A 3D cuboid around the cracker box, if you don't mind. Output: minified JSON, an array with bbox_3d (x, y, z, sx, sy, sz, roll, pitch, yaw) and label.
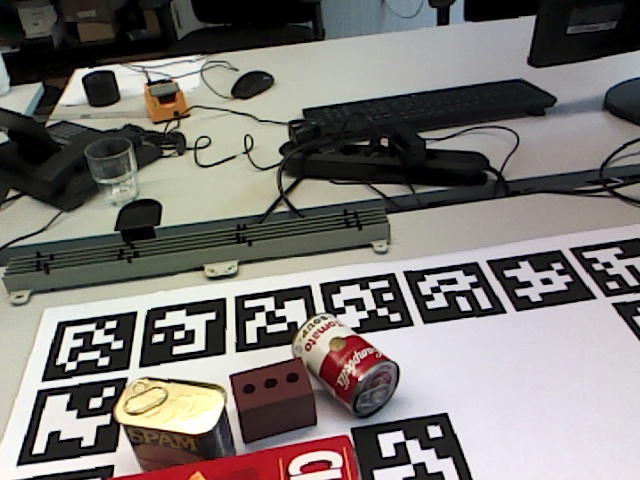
[{"bbox_3d":[-0.072,0.260,0.482,0.213,0.072,0.165,-14,38,-5],"label":"cracker box"}]

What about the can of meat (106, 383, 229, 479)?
[{"bbox_3d":[-0.142,0.188,0.594,0.102,0.083,0.058,1,39,8],"label":"can of meat"}]

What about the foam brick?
[{"bbox_3d":[-0.051,0.170,0.636,0.078,0.051,0.053,-14,39,-12],"label":"foam brick"}]

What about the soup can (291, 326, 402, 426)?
[{"bbox_3d":[0.027,0.142,0.662,0.067,0.067,0.103,-34,41,-32],"label":"soup can"}]
